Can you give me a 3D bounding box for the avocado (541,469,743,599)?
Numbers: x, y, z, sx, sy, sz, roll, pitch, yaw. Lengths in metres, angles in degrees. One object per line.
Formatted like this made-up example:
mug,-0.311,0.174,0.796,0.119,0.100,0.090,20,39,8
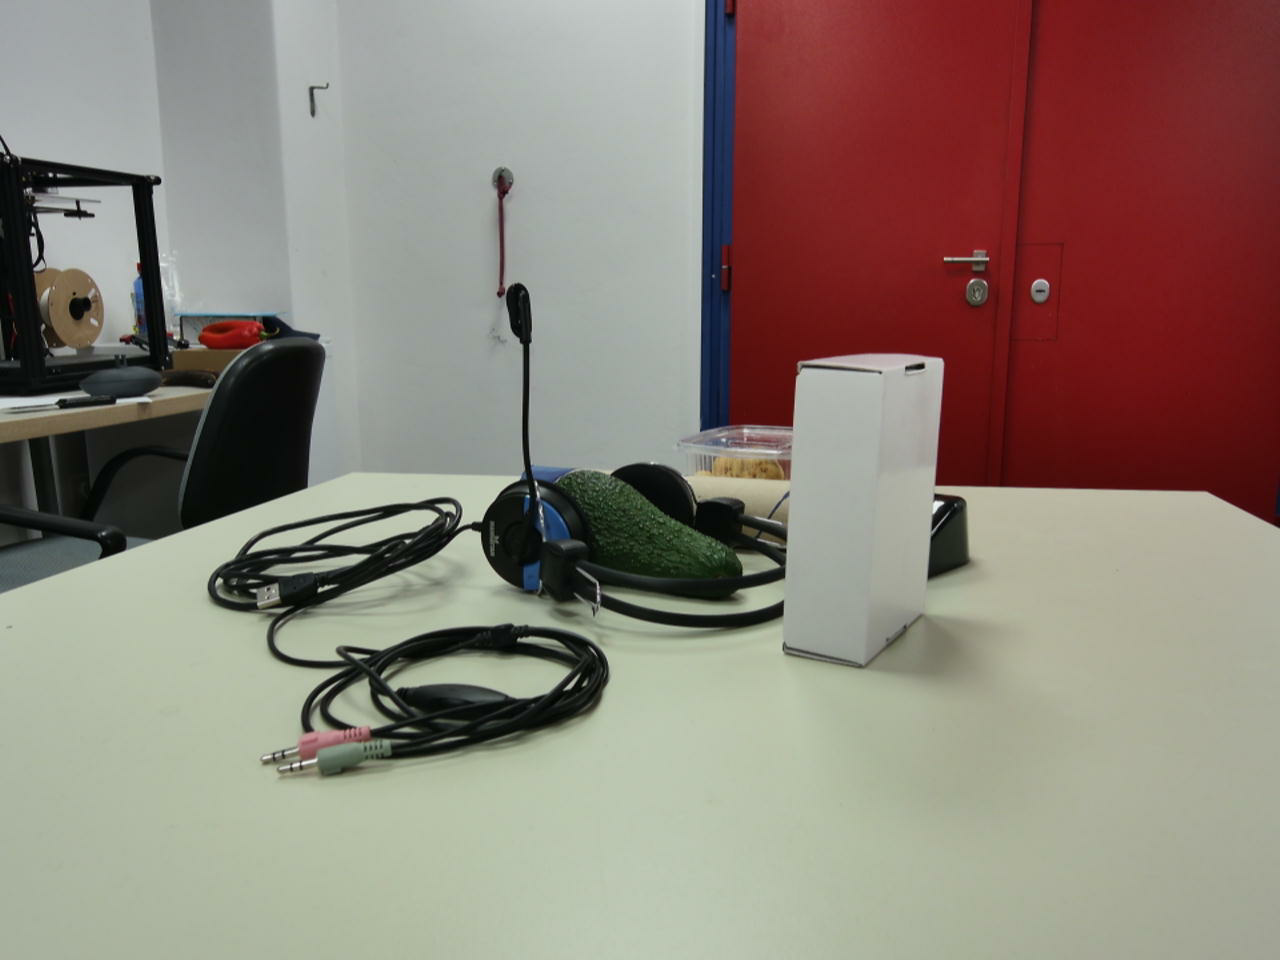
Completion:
avocado,0.002,0.030,0.594,0.141,0.067,0.063,4,8,26
